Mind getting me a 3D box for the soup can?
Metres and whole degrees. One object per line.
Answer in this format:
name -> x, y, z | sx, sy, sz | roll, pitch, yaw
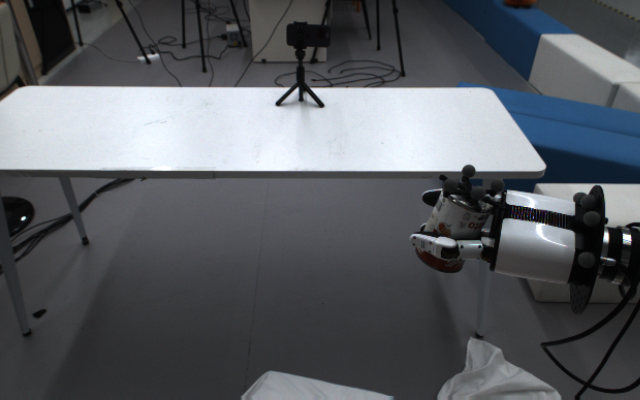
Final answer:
soup can -> 0.177, 0.035, 0.636 | 0.067, 0.101, 0.067 | 13, 30, -8
